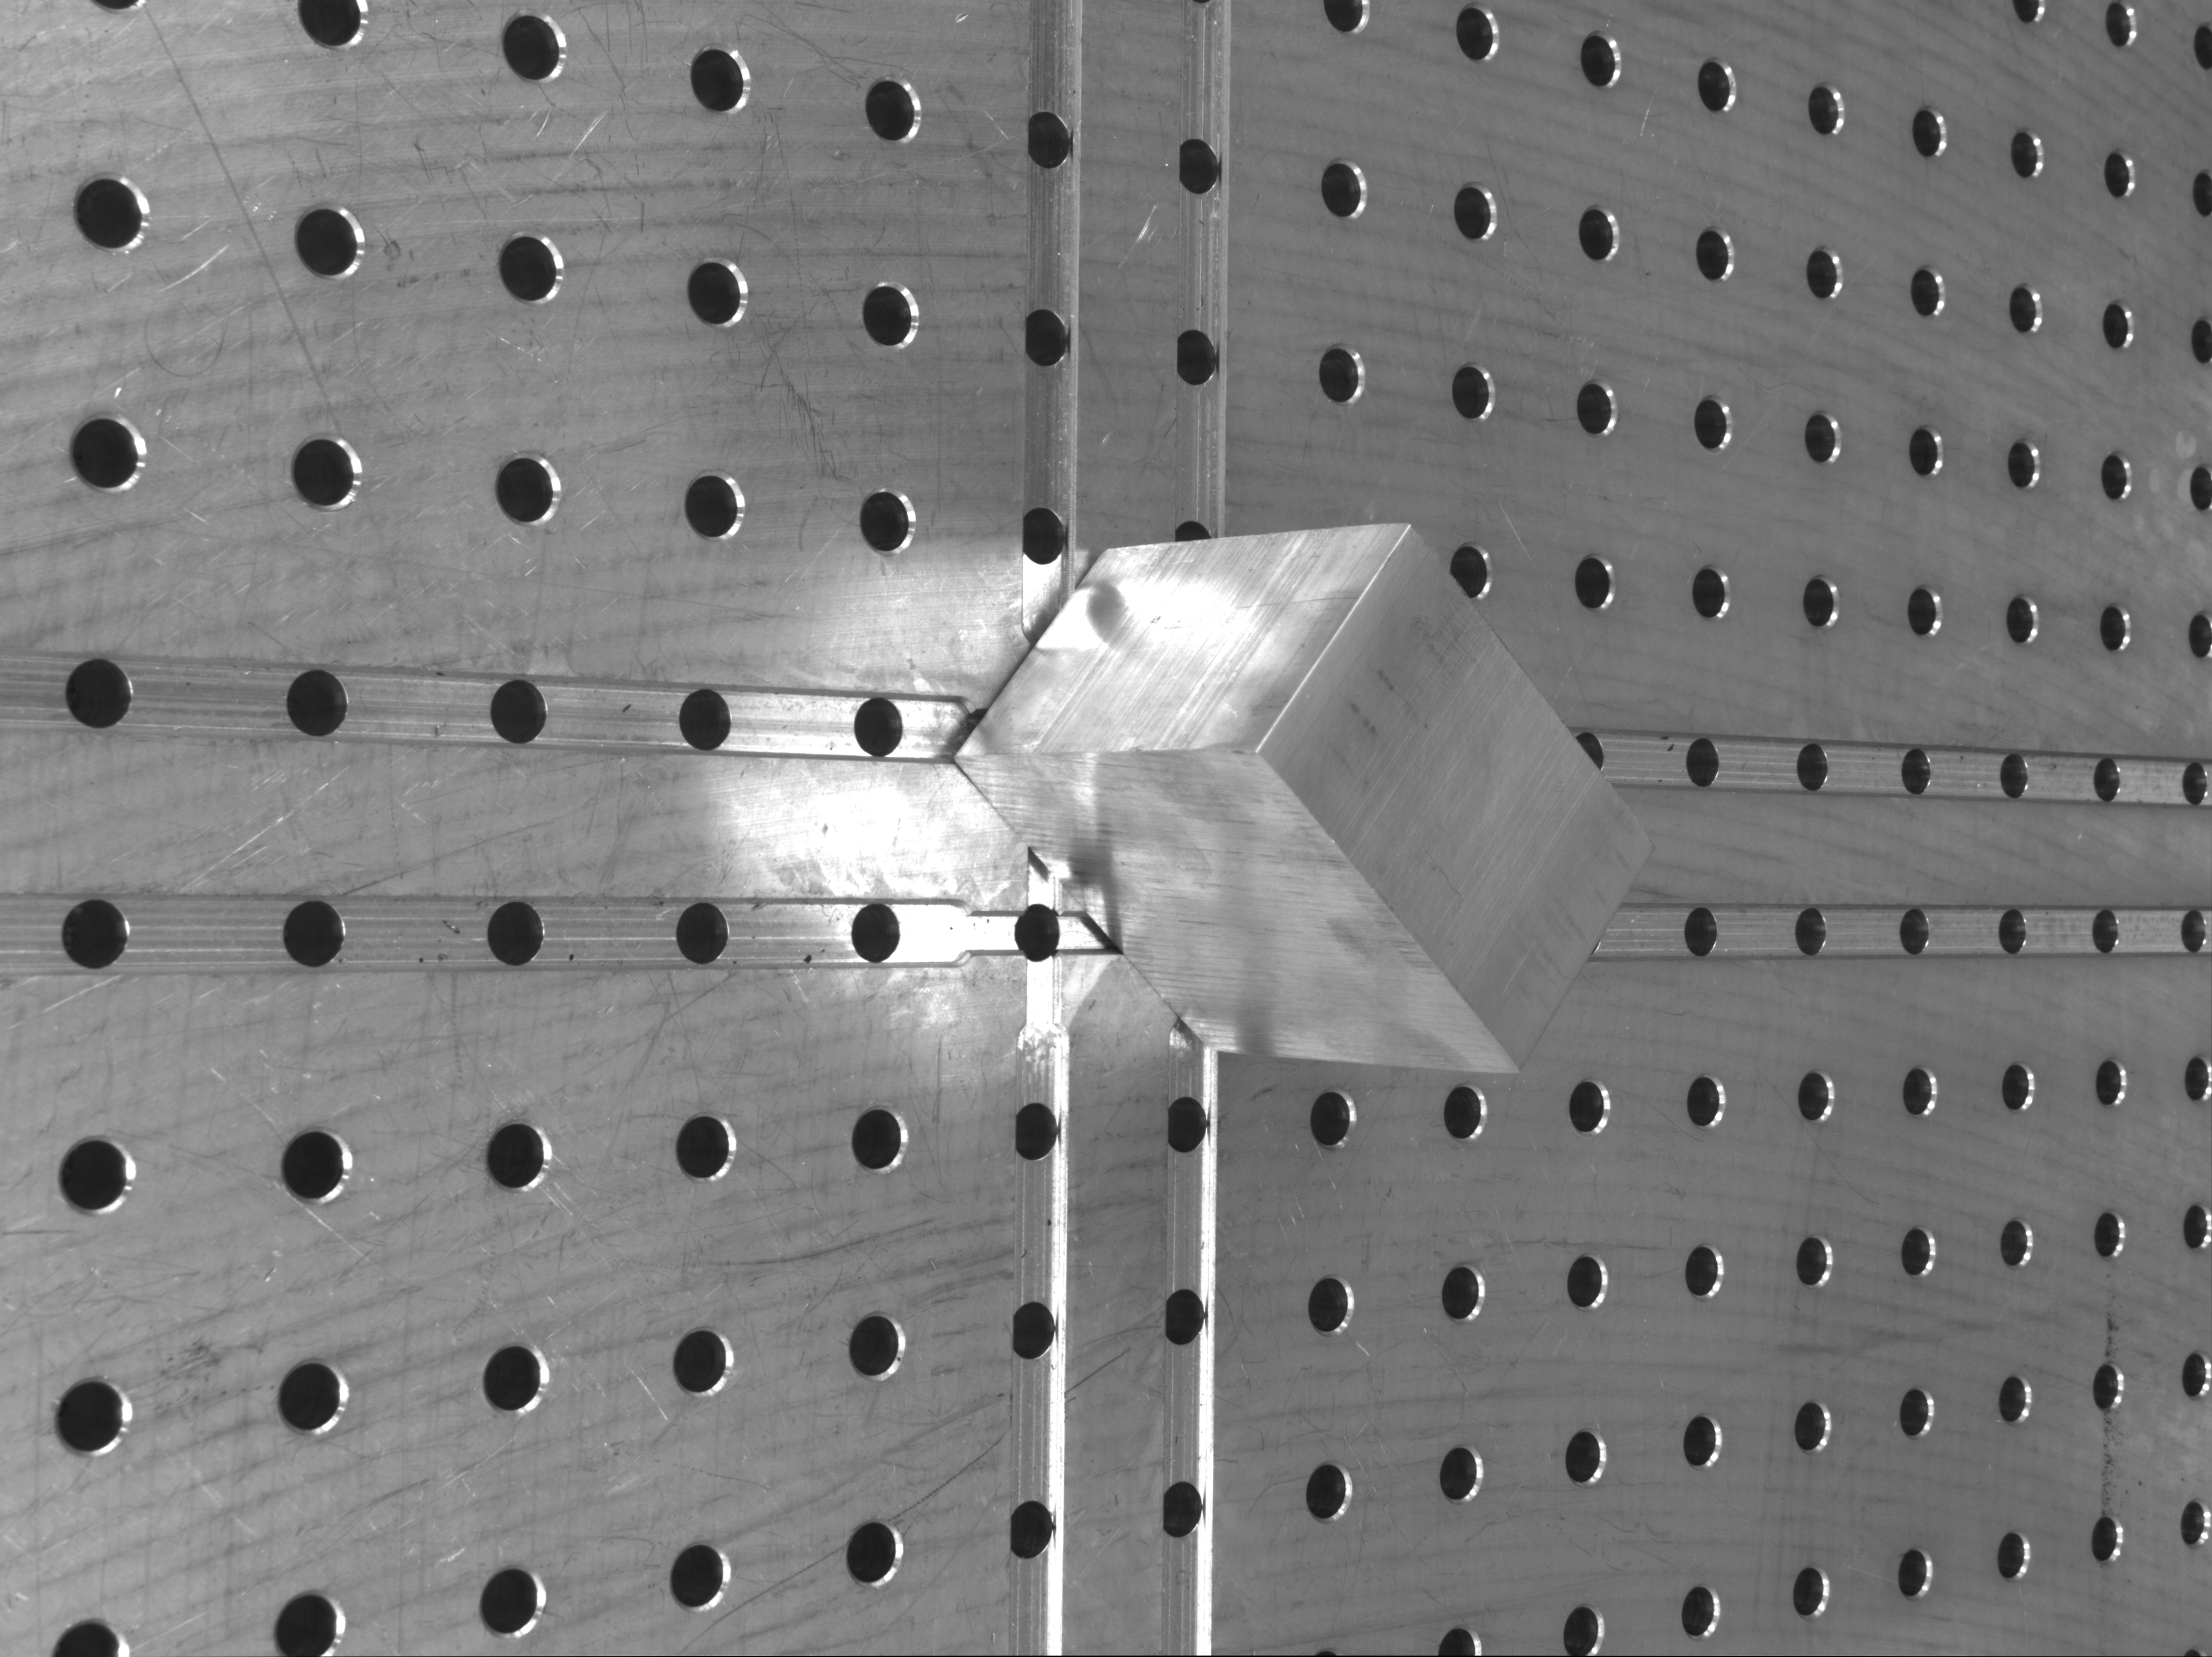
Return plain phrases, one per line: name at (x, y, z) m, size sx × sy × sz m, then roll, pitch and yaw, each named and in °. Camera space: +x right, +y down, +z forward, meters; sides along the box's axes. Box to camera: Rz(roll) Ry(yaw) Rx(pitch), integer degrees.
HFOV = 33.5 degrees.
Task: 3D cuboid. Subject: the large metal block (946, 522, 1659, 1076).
large metal block at (0.034, -0.004, 0.631) m, size 0.080 × 0.080 × 0.050 m, roll 49°, pitch 61°, yaw -29°
